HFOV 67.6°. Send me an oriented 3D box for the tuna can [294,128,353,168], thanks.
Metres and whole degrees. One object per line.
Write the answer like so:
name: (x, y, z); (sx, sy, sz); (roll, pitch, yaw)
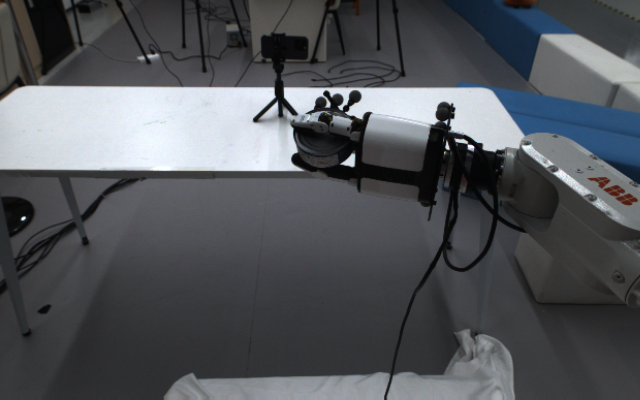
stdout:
tuna can: (0.007, -0.090, 0.685); (0.085, 0.034, 0.085); (-4, 56, 6)
